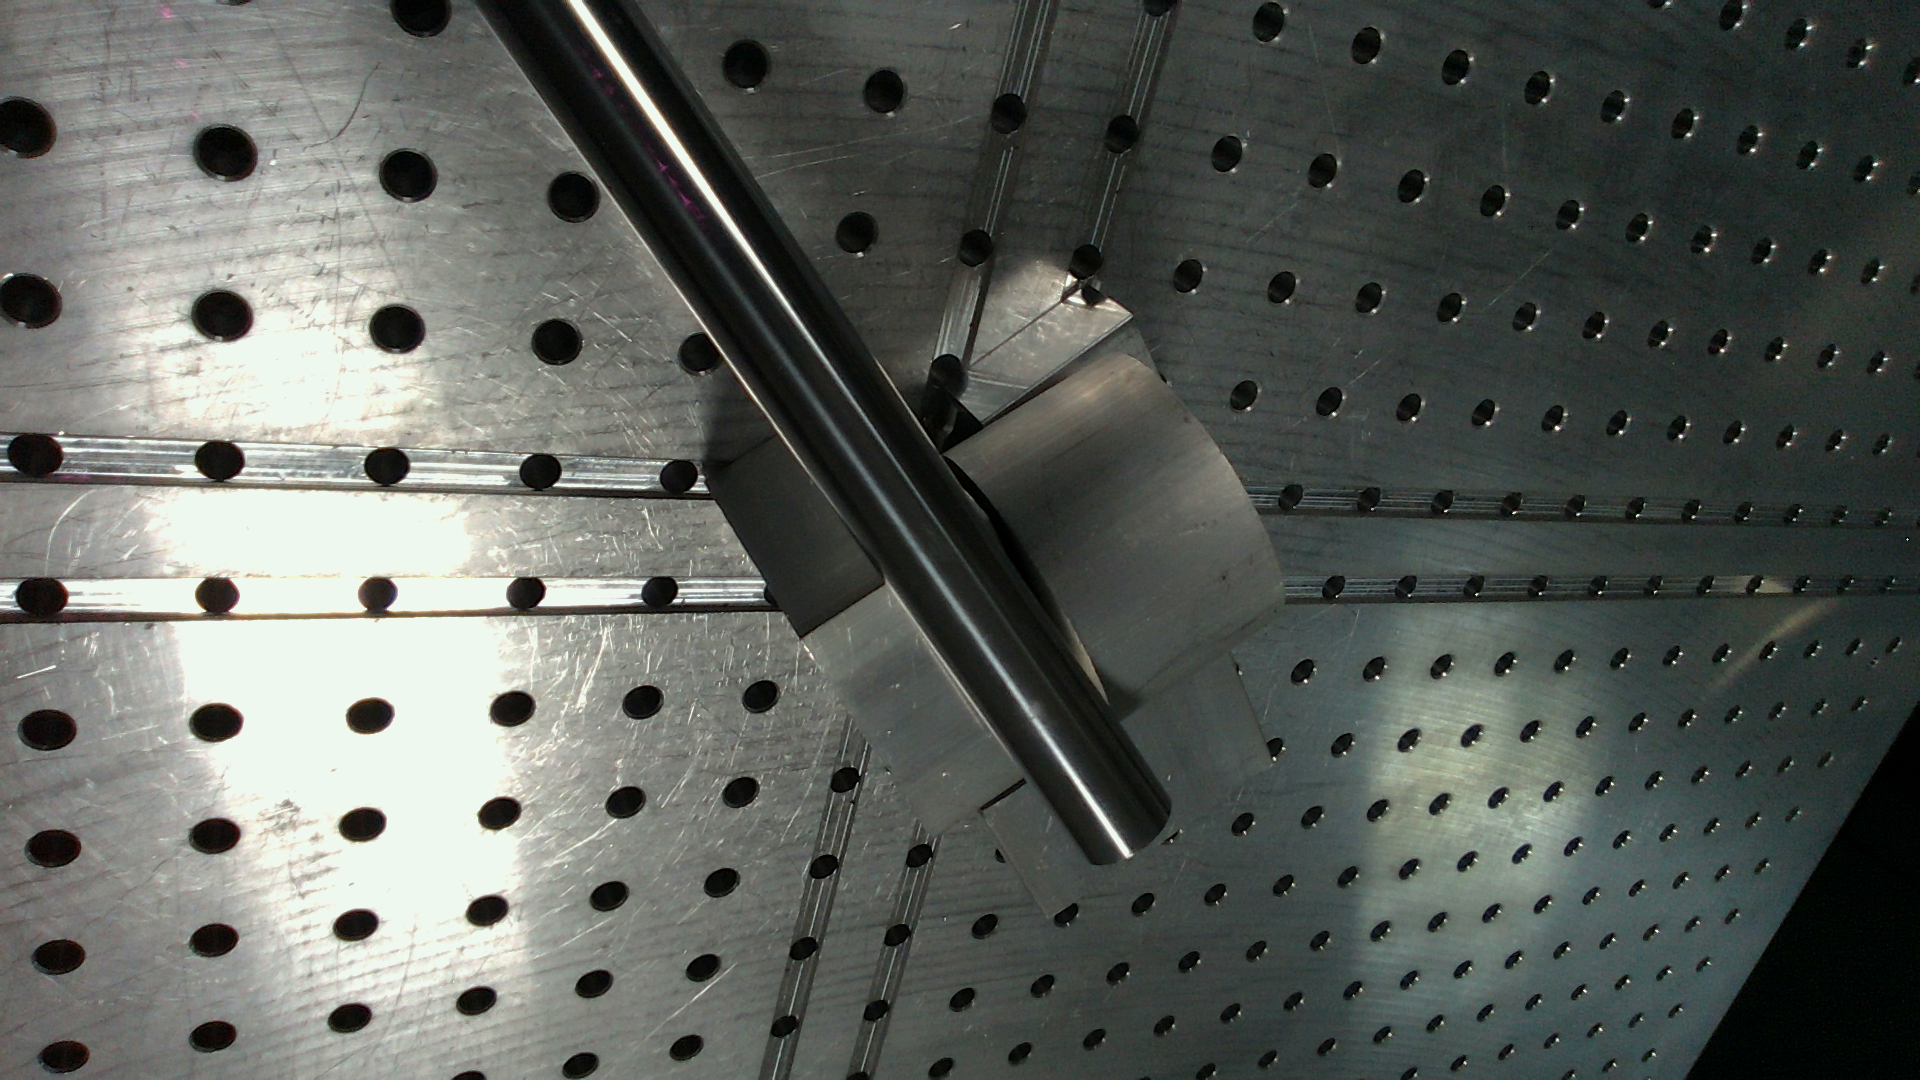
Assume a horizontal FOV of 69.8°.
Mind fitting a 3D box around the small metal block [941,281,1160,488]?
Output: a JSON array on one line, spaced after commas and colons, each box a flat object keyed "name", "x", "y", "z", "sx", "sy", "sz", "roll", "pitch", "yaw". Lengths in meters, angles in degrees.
[{"name": "small metal block", "x": 0.031, "y": -0.035, "z": 0.388, "sx": 0.050, "sy": 0.025, "sz": 0.050, "roll": -36, "pitch": 129, "yaw": -4}]

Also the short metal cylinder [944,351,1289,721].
[{"name": "short metal cylinder", "x": 0.037, "y": 0.000, "z": 0.344, "sx": 0.050, "sy": 0.080, "sz": 0.080, "roll": -32, "pitch": 129, "yaw": -7}]

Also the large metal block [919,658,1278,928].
[{"name": "large metal block", "x": 0.032, "y": 0.050, "z": 0.402, "sx": 0.080, "sy": 0.080, "sz": 0.050, "roll": -33, "pitch": 129, "yaw": -7}]

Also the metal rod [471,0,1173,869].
[{"name": "metal rod", "x": -0.043, "y": -0.052, "z": 0.270, "sx": 0.025, "sy": 0.025, "sz": 0.300, "roll": -36, "pitch": 108, "yaw": -5}]

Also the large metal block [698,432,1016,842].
[{"name": "large metal block", "x": -0.017, "y": 0.016, "z": 0.359, "sx": 0.050, "sy": 0.080, "sz": 0.080, "roll": -33, "pitch": 129, "yaw": -7}]
